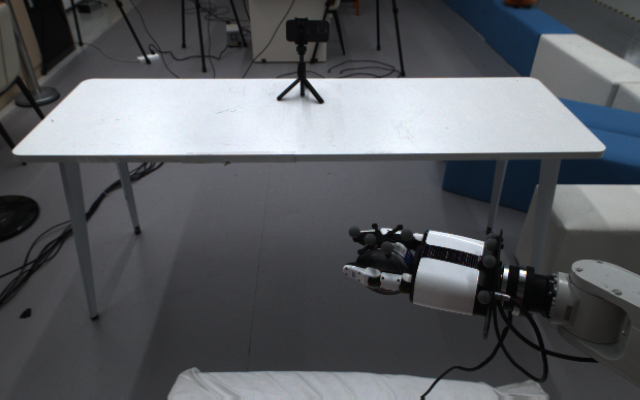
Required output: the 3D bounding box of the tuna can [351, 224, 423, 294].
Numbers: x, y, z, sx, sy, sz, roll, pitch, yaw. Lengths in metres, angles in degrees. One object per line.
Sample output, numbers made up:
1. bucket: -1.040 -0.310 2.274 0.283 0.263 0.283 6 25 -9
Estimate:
1. tuna can: 0.101 0.099 0.729 0.085 0.085 0.034 15 34 17
